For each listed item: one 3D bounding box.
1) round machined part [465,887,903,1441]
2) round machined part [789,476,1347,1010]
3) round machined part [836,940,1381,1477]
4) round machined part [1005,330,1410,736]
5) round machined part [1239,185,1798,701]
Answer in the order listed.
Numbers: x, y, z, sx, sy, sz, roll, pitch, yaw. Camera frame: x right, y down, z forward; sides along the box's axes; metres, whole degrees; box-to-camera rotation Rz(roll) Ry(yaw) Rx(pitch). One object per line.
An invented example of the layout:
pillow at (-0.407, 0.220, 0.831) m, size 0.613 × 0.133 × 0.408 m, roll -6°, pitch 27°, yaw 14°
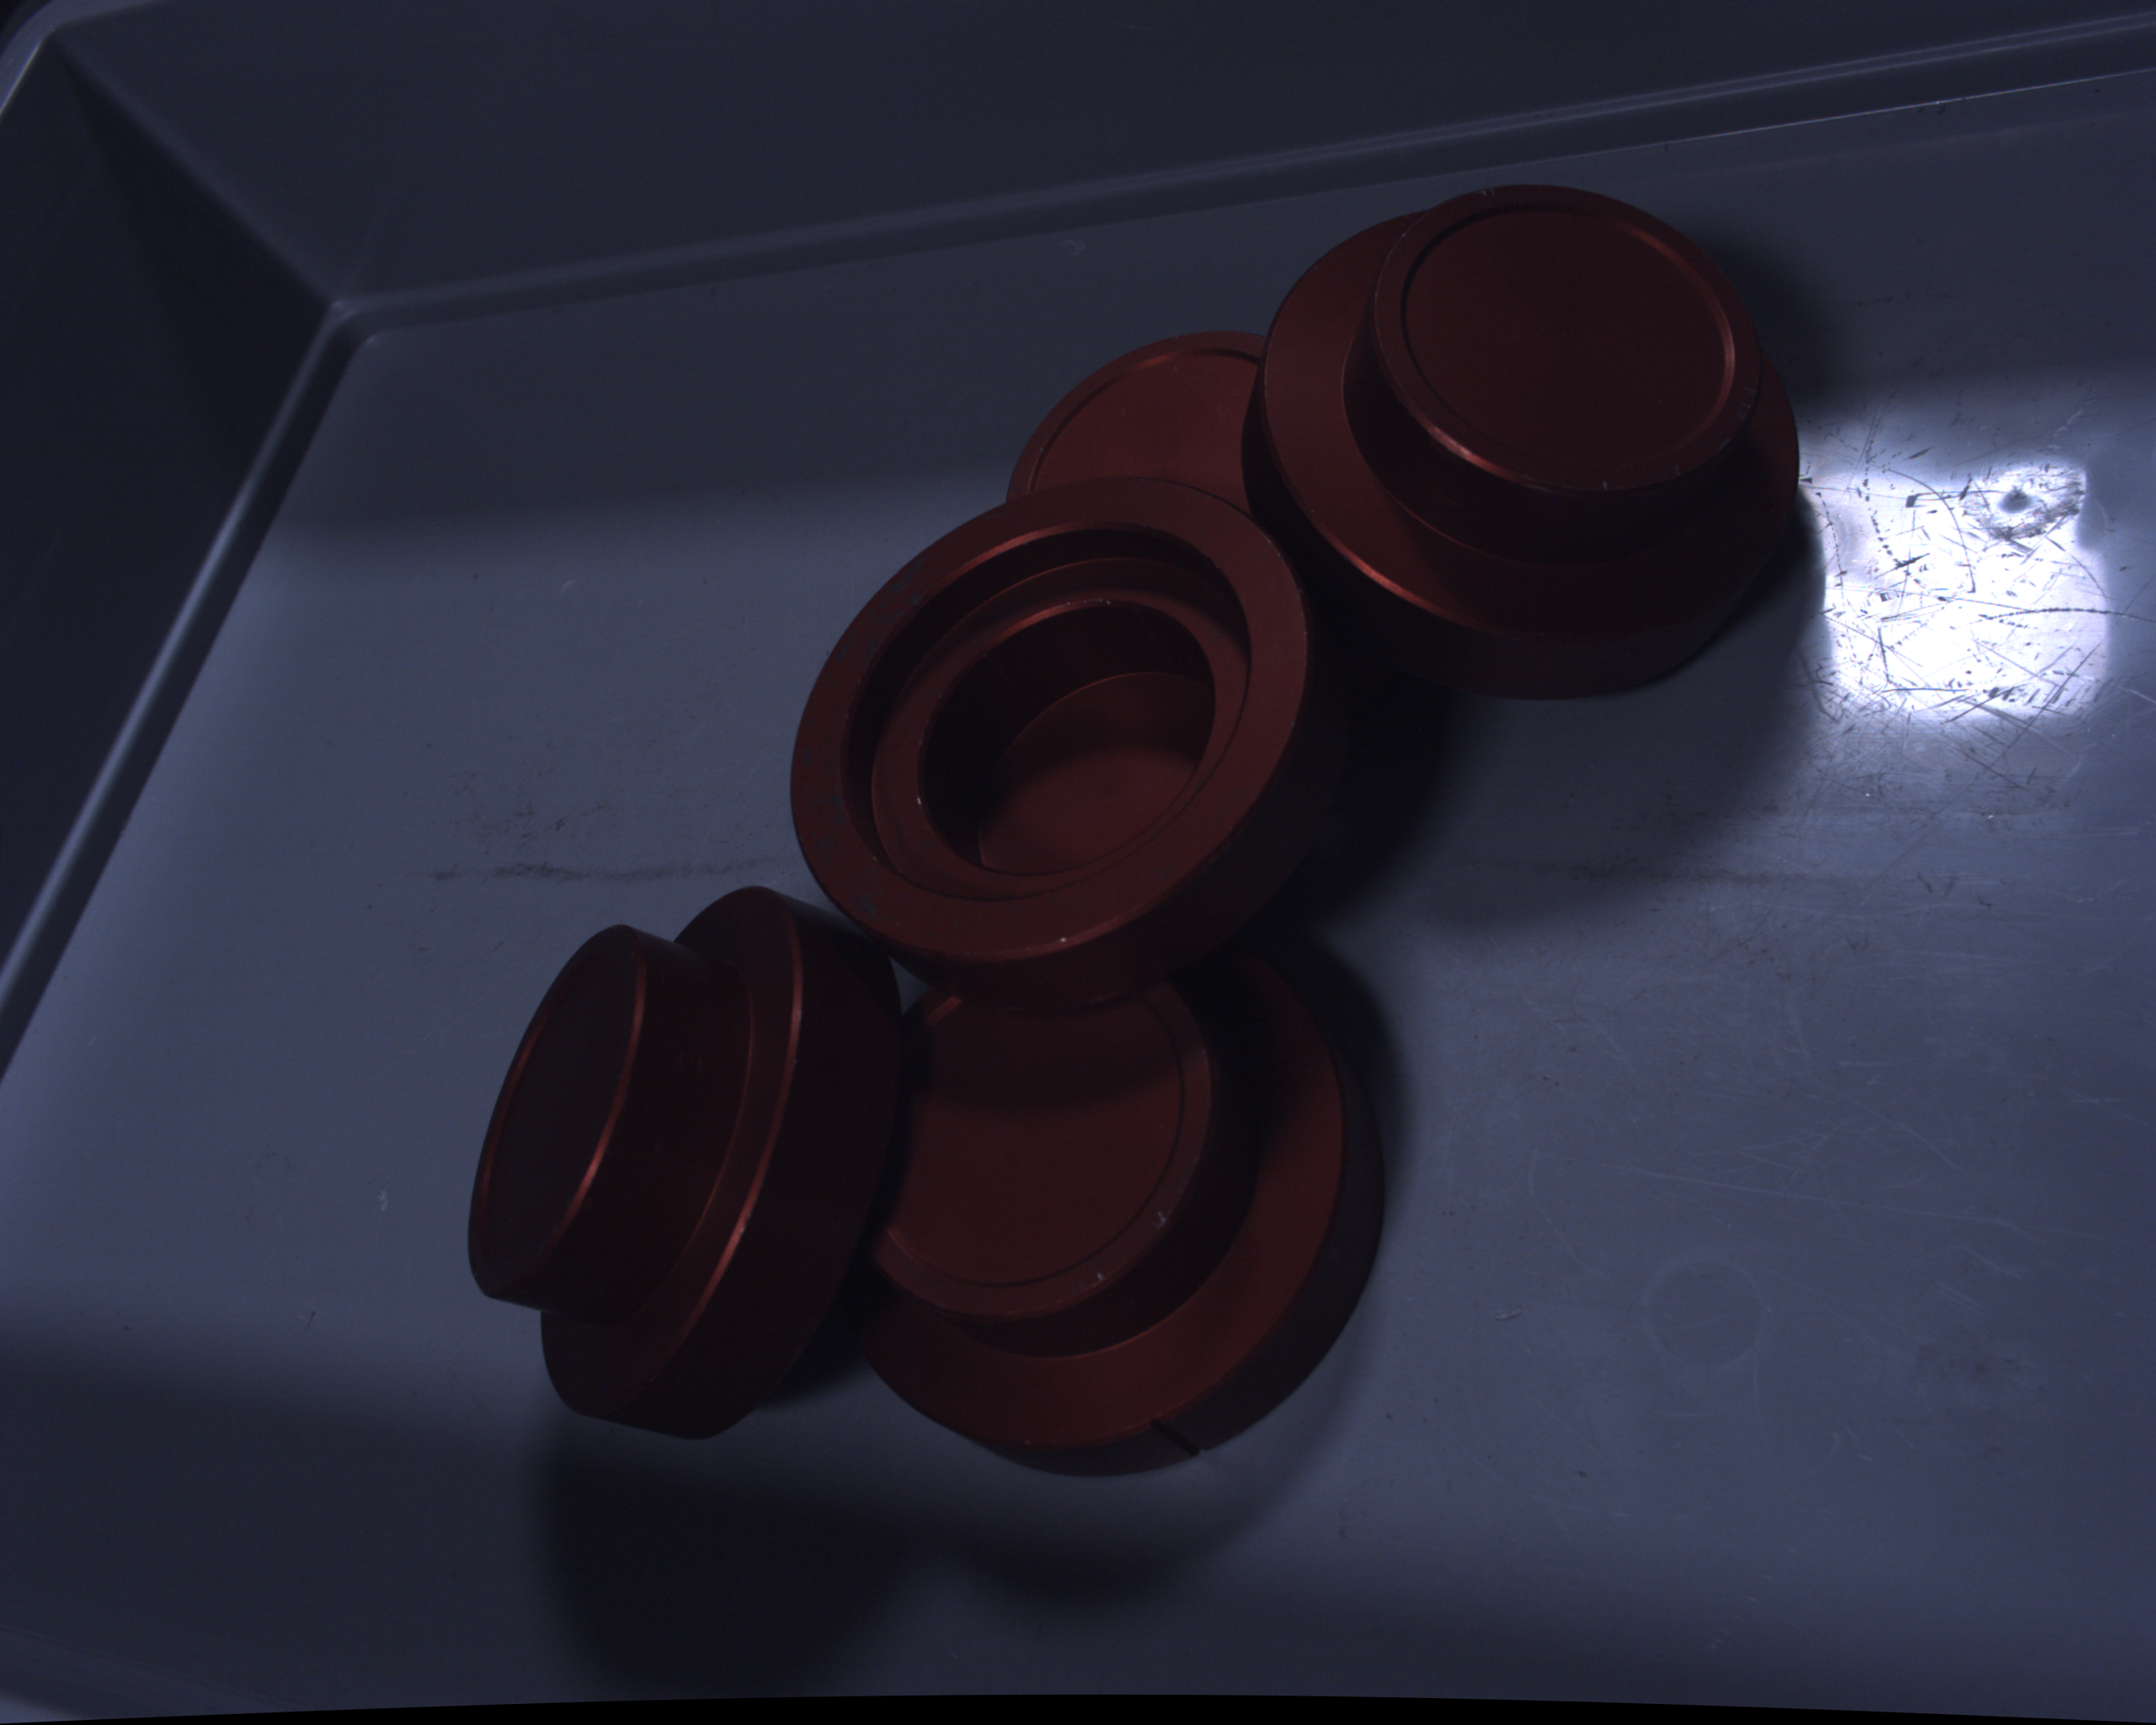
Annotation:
round machined part at (-0.075, 0.050, 0.373) m, size 0.098 × 0.042 × 0.098 m, roll -39°, pitch 38°, yaw 40°
round machined part at (0.001, -0.018, 0.374) m, size 0.098 × 0.042 × 0.098 m, roll -13°, pitch 56°, yaw 20°
round machined part at (-0.001, 0.052, 0.360) m, size 0.098 × 0.042 × 0.098 m, roll -13°, pitch 56°, yaw 20°
round machined part at (0.024, -0.068, 0.420) m, size 0.098 × 0.042 × 0.098 m, roll -13°, pitch 56°, yaw 20°
round machined part at (0.081, -0.081, 0.372) m, size 0.099 × 0.042 × 0.098 m, roll 3°, pitch 63°, yaw -5°
